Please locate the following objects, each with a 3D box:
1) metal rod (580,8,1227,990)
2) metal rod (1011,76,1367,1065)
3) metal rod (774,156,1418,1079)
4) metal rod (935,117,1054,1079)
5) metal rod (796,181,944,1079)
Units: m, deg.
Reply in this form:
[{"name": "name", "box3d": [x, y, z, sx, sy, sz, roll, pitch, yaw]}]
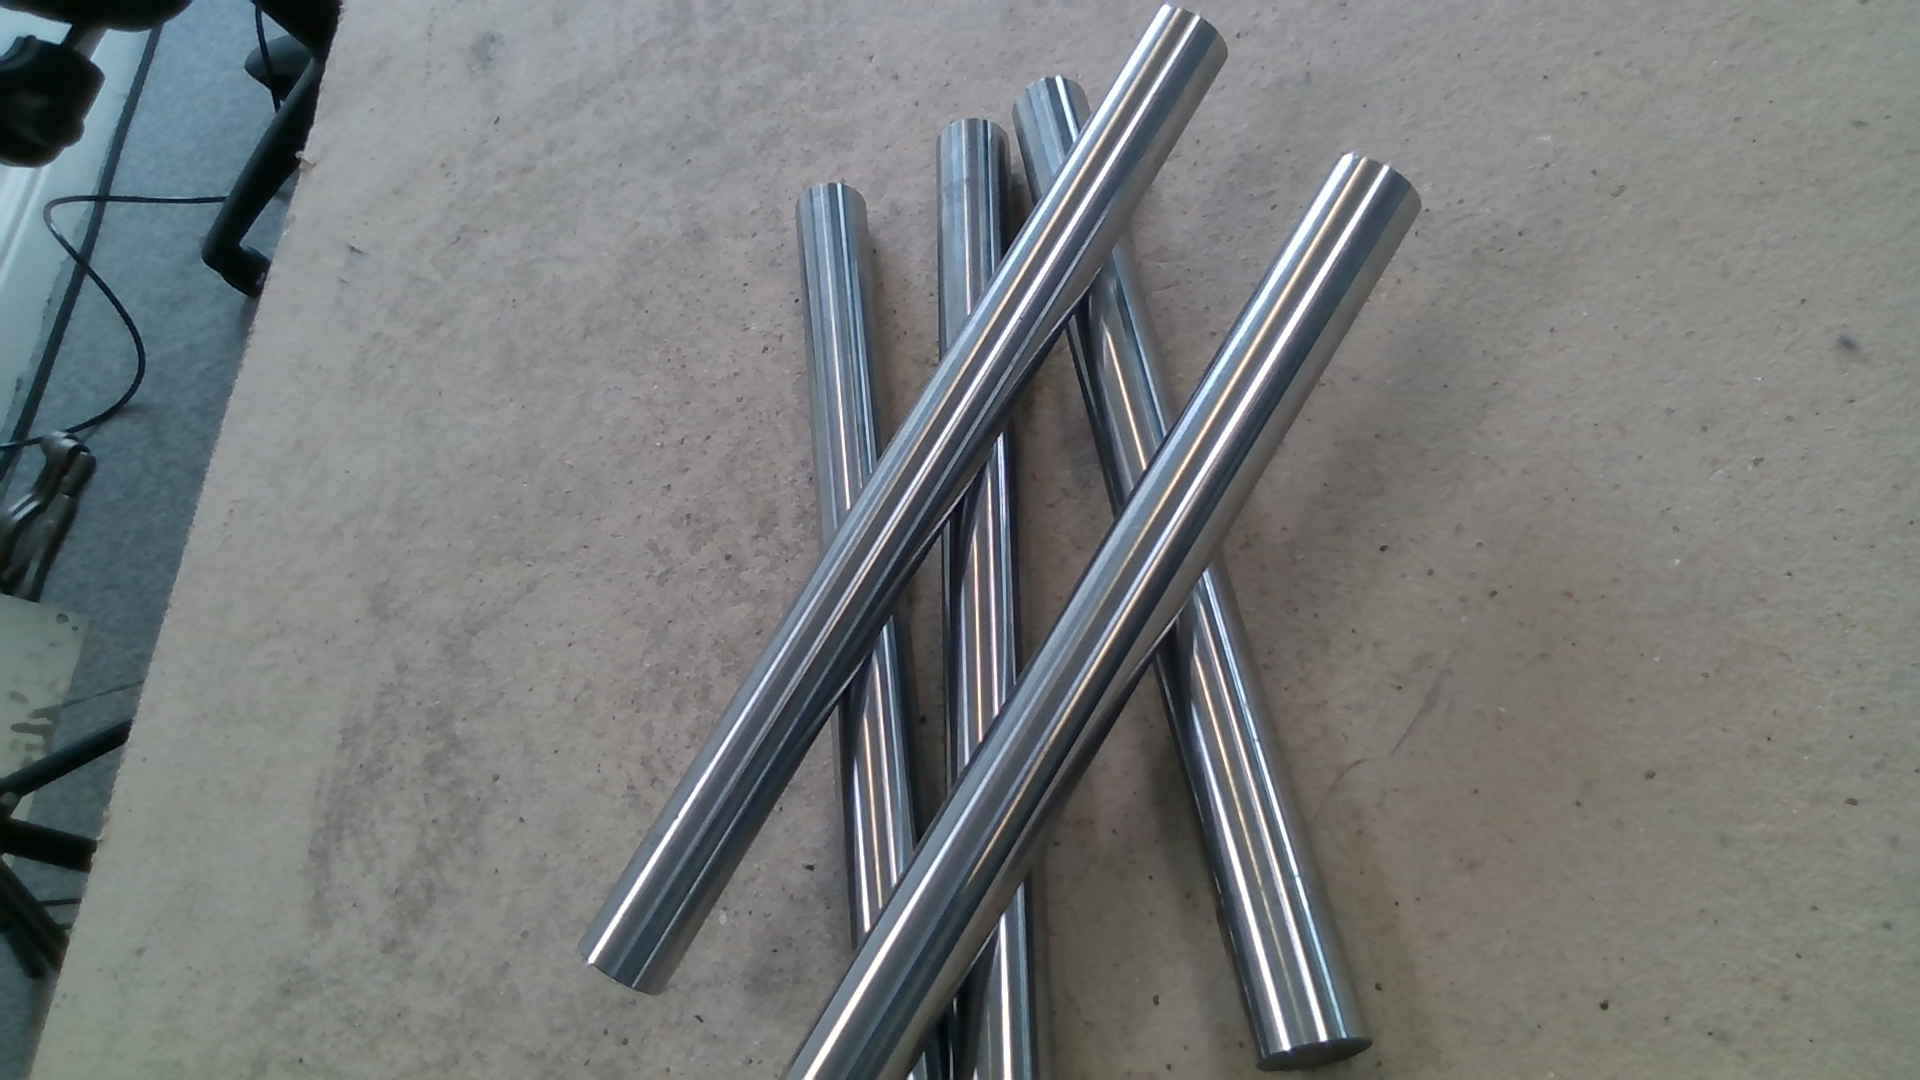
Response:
[{"name": "metal rod", "box3d": [-0.011, -0.017, 0.377, 0.025, 0.025, 0.300, 25, 80, 38]}, {"name": "metal rod", "box3d": [0.051, -0.017, 0.370, 0.025, 0.025, 0.299, -23, 56, 20]}, {"name": "metal rod", "box3d": [0.024, 0.039, 0.325, 0.025, 0.025, 0.300, 26, 81, 38]}, {"name": "metal rod", "box3d": [0.007, -0.001, 0.389, 0.025, 0.025, 0.299, -15, 58, 24]}, {"name": "metal rod", "box3d": [-0.029, 0.010, 0.405, 0.025, 0.025, 0.299, -21, 56, 21]}]
